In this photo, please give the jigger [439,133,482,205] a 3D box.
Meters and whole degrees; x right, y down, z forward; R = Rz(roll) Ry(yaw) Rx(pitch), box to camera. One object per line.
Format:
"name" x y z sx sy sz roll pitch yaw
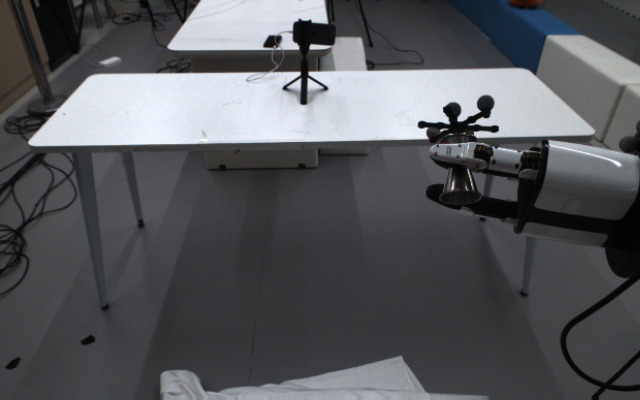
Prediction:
"jigger" 0.150 -0.035 0.529 0.043 0.043 0.071 4 71 2
